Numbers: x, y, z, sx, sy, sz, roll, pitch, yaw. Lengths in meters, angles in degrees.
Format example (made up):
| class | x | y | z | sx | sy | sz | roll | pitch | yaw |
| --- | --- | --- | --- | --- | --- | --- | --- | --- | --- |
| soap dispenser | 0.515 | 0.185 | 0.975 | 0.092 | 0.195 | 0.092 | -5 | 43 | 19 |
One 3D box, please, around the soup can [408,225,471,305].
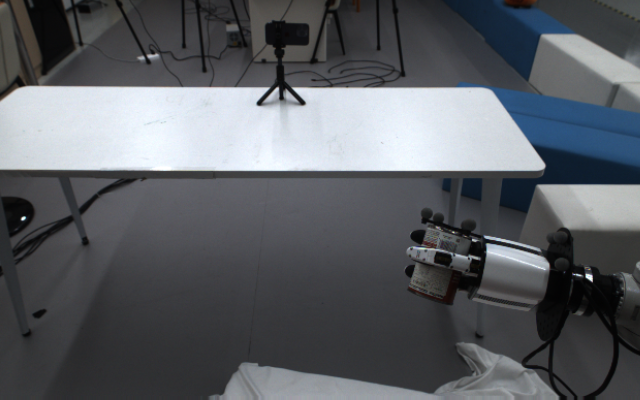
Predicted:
| class | x | y | z | sx | sy | sz | roll | pitch | yaw |
| --- | --- | --- | --- | --- | --- | --- | --- | --- | --- |
| soup can | 0.177 | 0.093 | 0.706 | 0.067 | 0.101 | 0.067 | 17 | -1 | 0 |
